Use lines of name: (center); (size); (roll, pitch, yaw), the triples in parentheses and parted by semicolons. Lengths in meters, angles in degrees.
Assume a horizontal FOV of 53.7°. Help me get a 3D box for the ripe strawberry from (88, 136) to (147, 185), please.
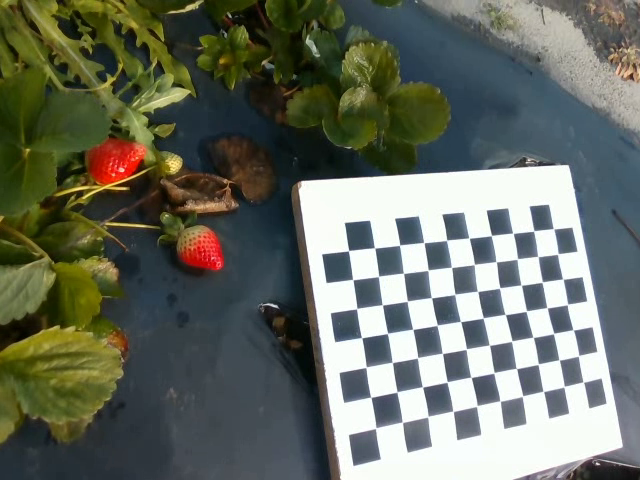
ripe strawberry: (-0.147, -0.060, 0.448); (0.049, 0.040, 0.032); (-22, -1, 18)

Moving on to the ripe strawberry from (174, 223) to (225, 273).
ripe strawberry: (-0.089, 0.008, 0.463); (0.035, 0.043, 0.029); (-46, 5, -23)
